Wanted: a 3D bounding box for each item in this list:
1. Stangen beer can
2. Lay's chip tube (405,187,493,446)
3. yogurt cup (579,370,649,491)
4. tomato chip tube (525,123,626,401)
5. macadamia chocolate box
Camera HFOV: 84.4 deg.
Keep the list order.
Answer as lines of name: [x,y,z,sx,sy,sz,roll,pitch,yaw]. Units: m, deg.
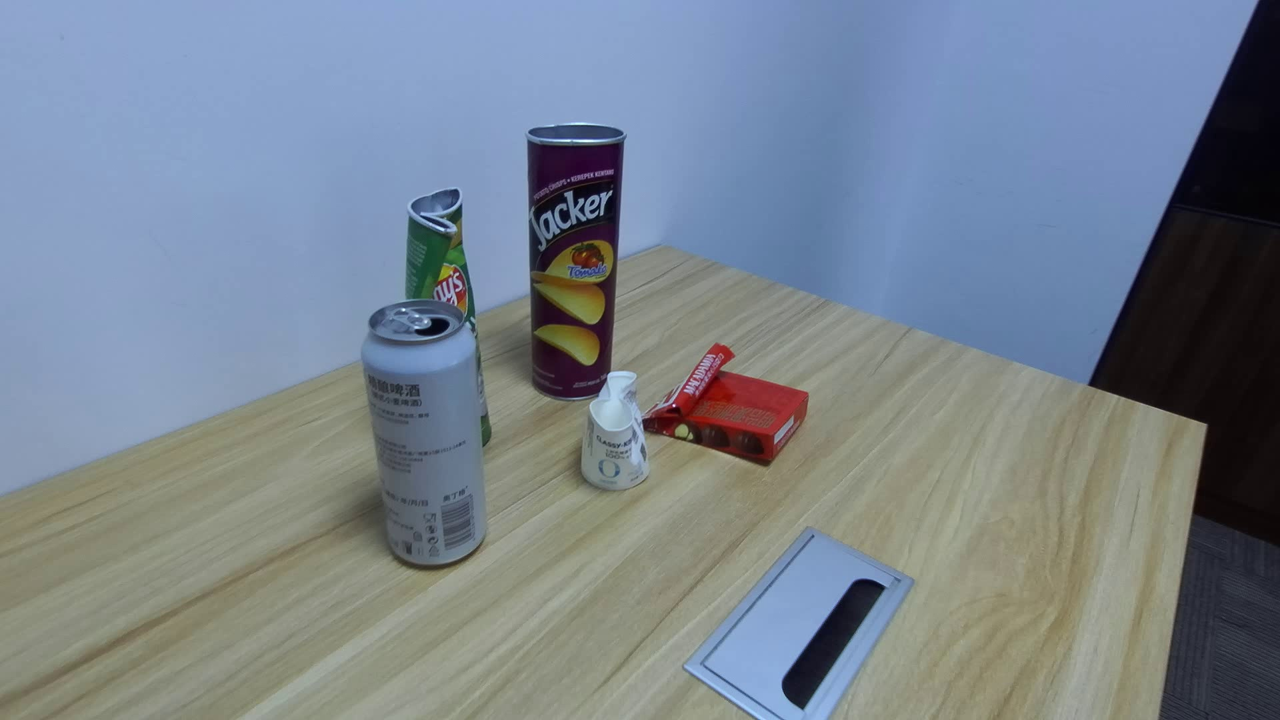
Stangen beer can: [-0.135,0.050,0.453,0.067,0.171,0.067,3,28,-1]
Lay's chip tube: [-0.154,-0.024,0.549,0.069,0.201,0.077,-16,36,-32]
yogurt cup: [-0.018,0.058,0.550,0.054,0.071,0.075,-8,32,-20]
tomato chip tube: [-0.057,-0.082,0.628,0.080,0.234,0.076,5,28,3]
macadamia chocolate box: [0.075,0.042,0.630,0.126,0.056,0.112,22,49,24]
